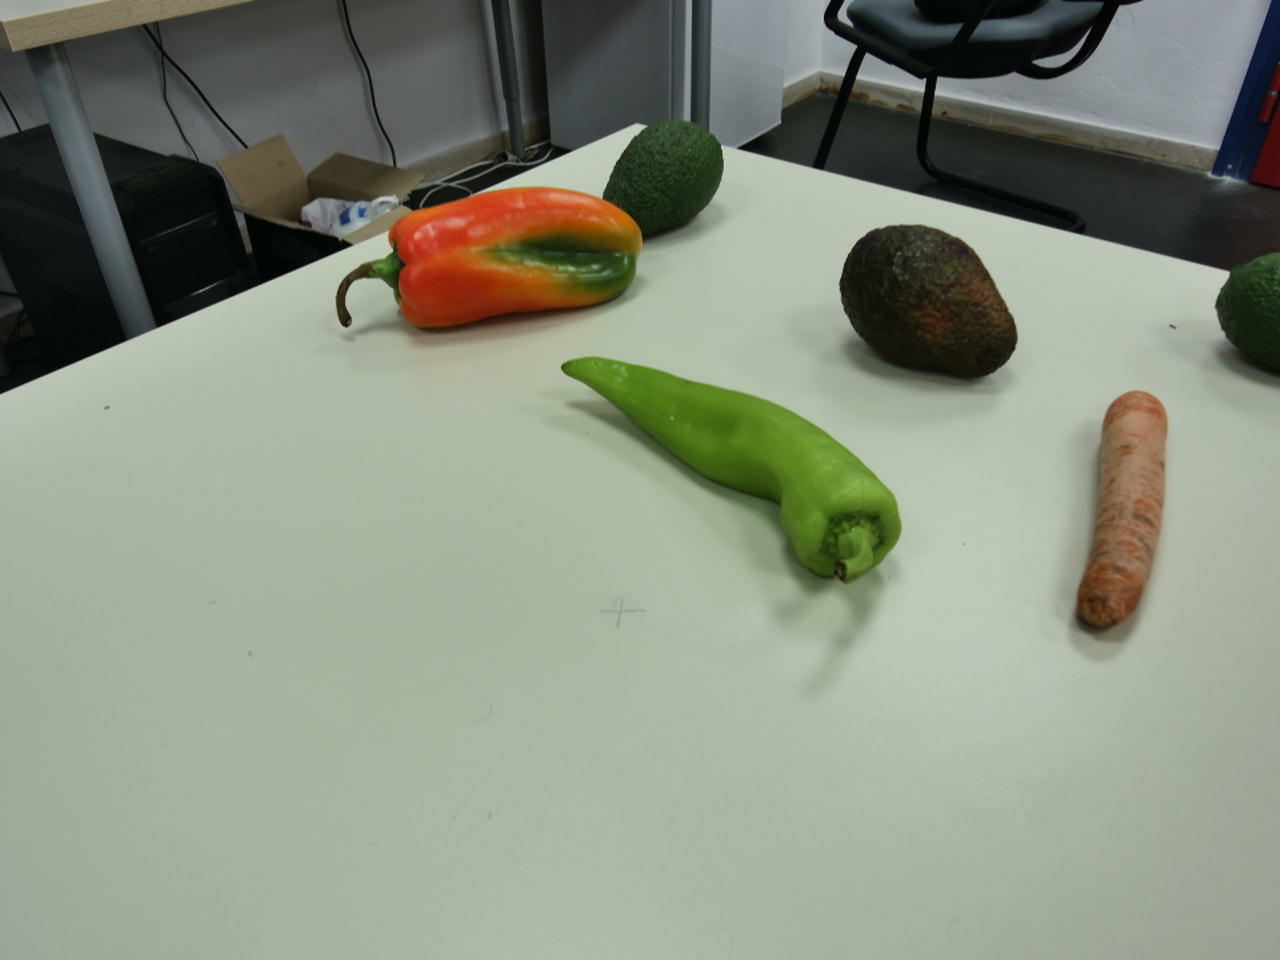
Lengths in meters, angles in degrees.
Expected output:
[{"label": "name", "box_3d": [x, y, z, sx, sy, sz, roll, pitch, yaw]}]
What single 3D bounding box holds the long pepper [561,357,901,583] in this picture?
[{"label": "long pepper", "box_3d": [0.043, -0.016, 0.449, 0.065, 0.045, 0.204, -22, 41, -26]}]
